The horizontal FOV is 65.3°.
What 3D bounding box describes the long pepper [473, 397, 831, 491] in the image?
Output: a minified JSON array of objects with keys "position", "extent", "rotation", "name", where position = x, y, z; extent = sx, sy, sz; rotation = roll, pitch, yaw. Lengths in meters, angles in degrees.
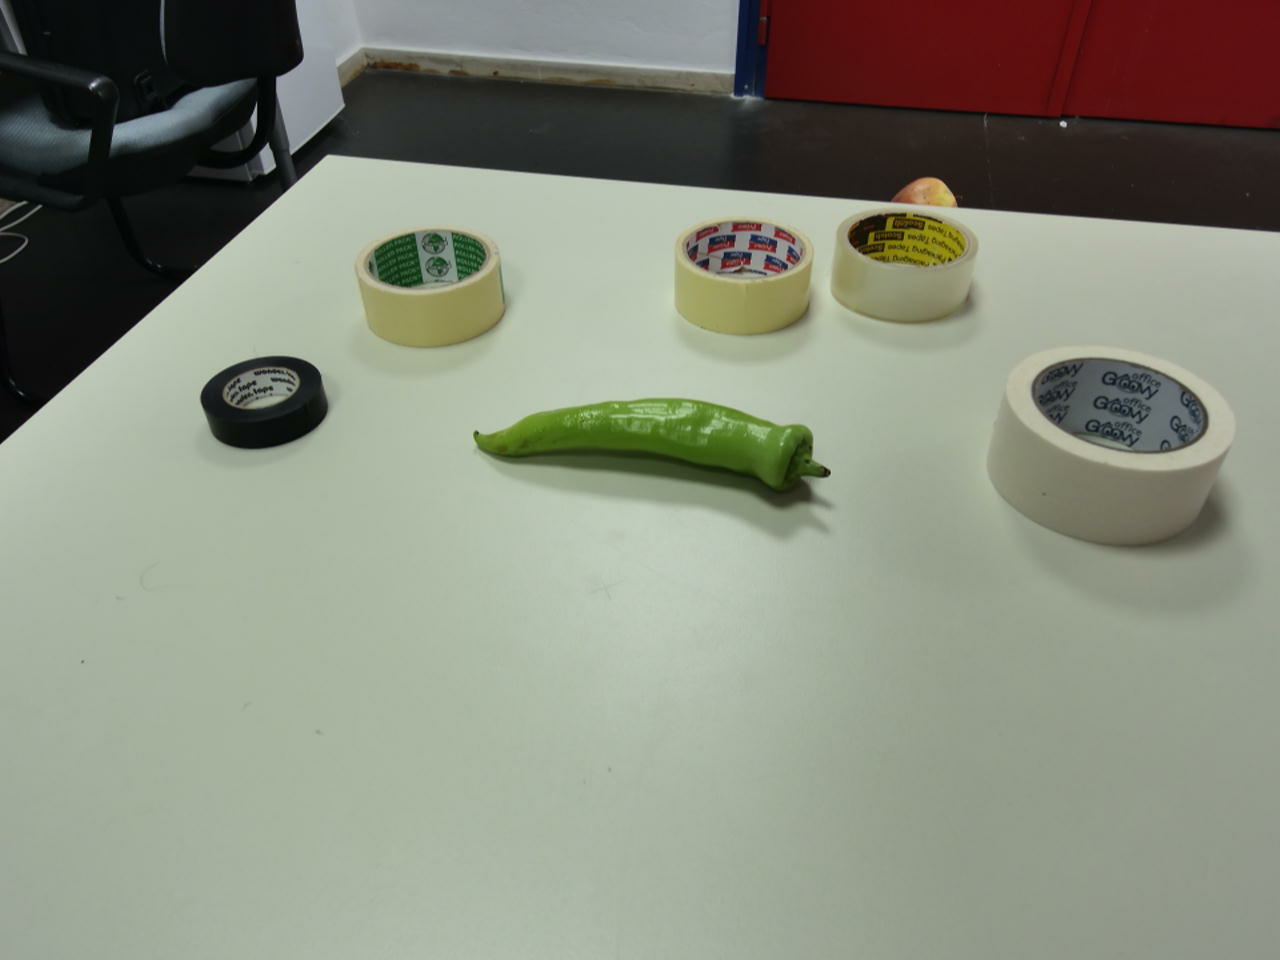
[{"position":[0.005,-0.025,0.535],"extent":[0.197,0.038,0.046],"rotation":[9,40,12],"name":"long pepper"}]
